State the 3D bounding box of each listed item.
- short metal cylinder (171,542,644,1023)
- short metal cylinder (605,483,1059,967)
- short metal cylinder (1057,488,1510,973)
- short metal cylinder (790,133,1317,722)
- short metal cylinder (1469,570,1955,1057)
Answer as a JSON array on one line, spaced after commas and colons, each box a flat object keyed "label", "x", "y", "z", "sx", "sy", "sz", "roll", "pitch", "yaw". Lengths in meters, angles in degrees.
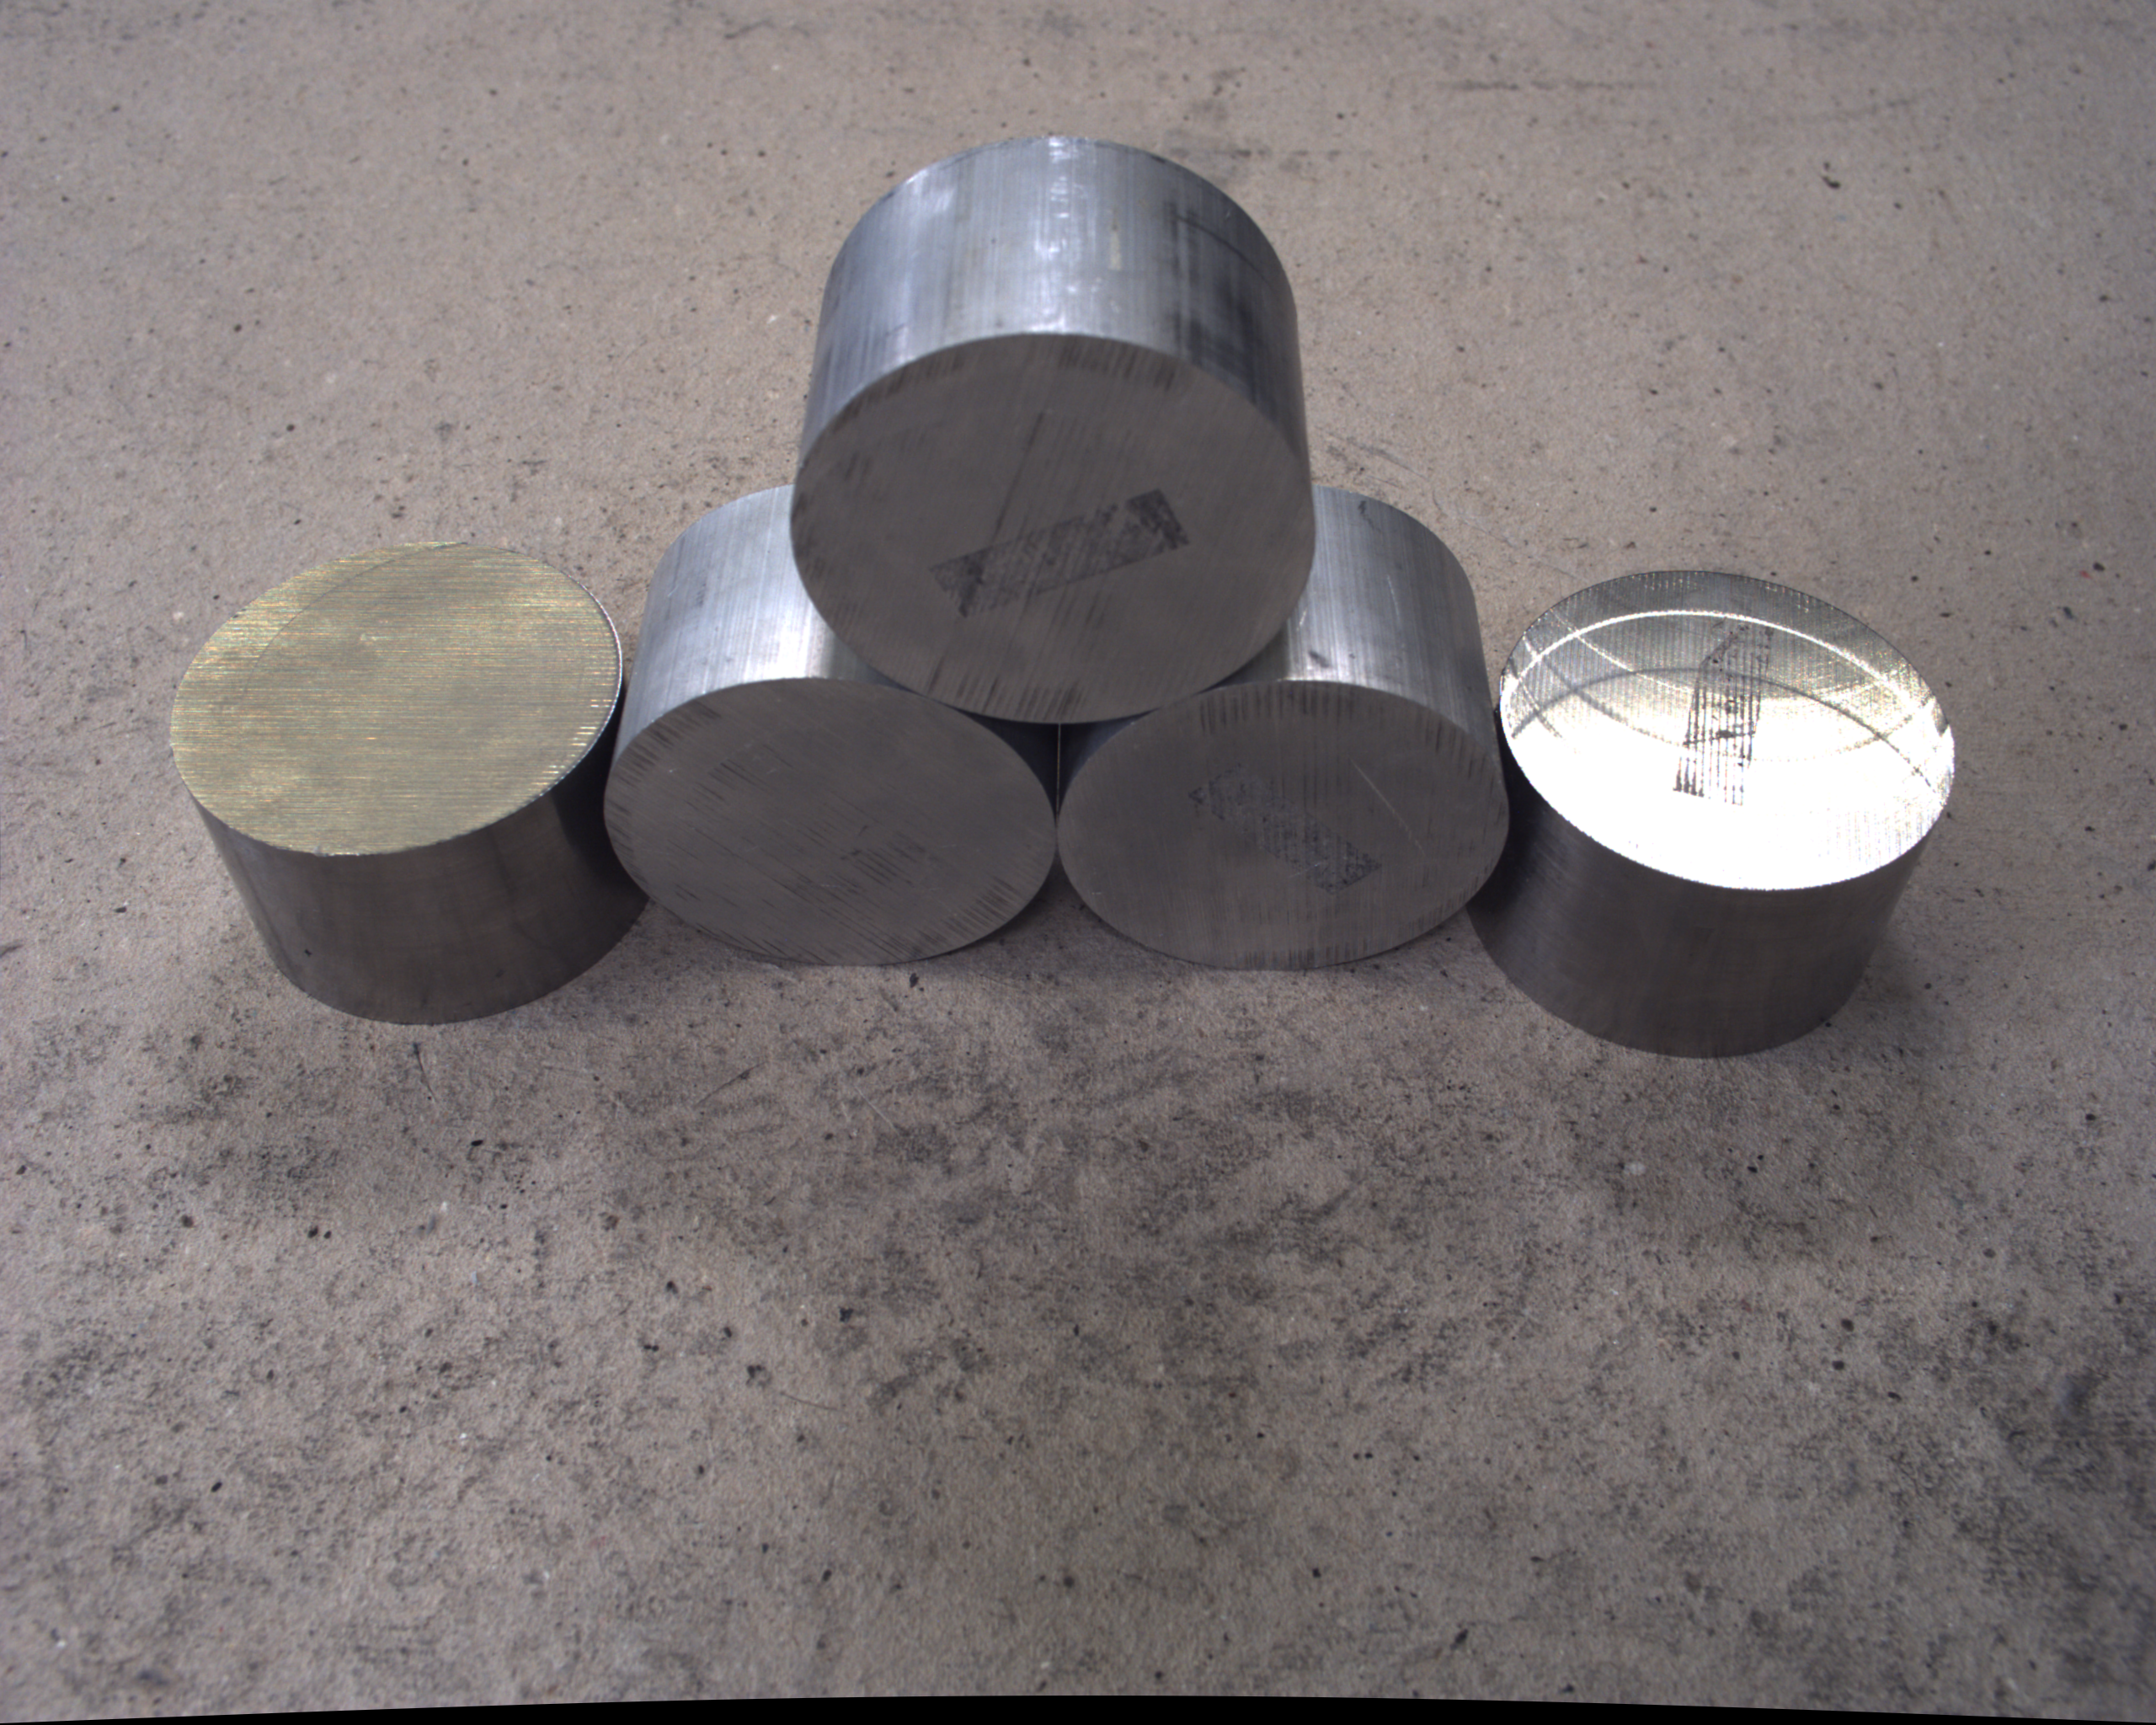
[{"label": "short metal cylinder", "x": -0.124, "y": -0.016, "z": 0.401, "sx": 0.081, "sy": 0.050, "sz": 0.080, "roll": 0, "pitch": 50, "yaw": 0}, {"label": "short metal cylinder", "x": -0.044, "y": -0.024, "z": 0.389, "sx": 0.080, "sy": 0.080, "sz": 0.050, "roll": 0, "pitch": 50, "yaw": 0}, {"label": "short metal cylinder", "x": 0.037, "y": -0.023, "z": 0.389, "sx": 0.080, "sy": 0.080, "sz": 0.050, "roll": 0, "pitch": 49, "yaw": 0}, {"label": "short metal cylinder", "x": -0.003, "y": -0.068, "z": 0.336, "sx": 0.080, "sy": 0.080, "sz": 0.050, "roll": 1, "pitch": 51, "yaw": 0}, {"label": "short metal cylinder", "x": 0.117, "y": -0.010, "z": 0.397, "sx": 0.081, "sy": 0.050, "sz": 0.080, "roll": 0, "pitch": 50, "yaw": 0}]
